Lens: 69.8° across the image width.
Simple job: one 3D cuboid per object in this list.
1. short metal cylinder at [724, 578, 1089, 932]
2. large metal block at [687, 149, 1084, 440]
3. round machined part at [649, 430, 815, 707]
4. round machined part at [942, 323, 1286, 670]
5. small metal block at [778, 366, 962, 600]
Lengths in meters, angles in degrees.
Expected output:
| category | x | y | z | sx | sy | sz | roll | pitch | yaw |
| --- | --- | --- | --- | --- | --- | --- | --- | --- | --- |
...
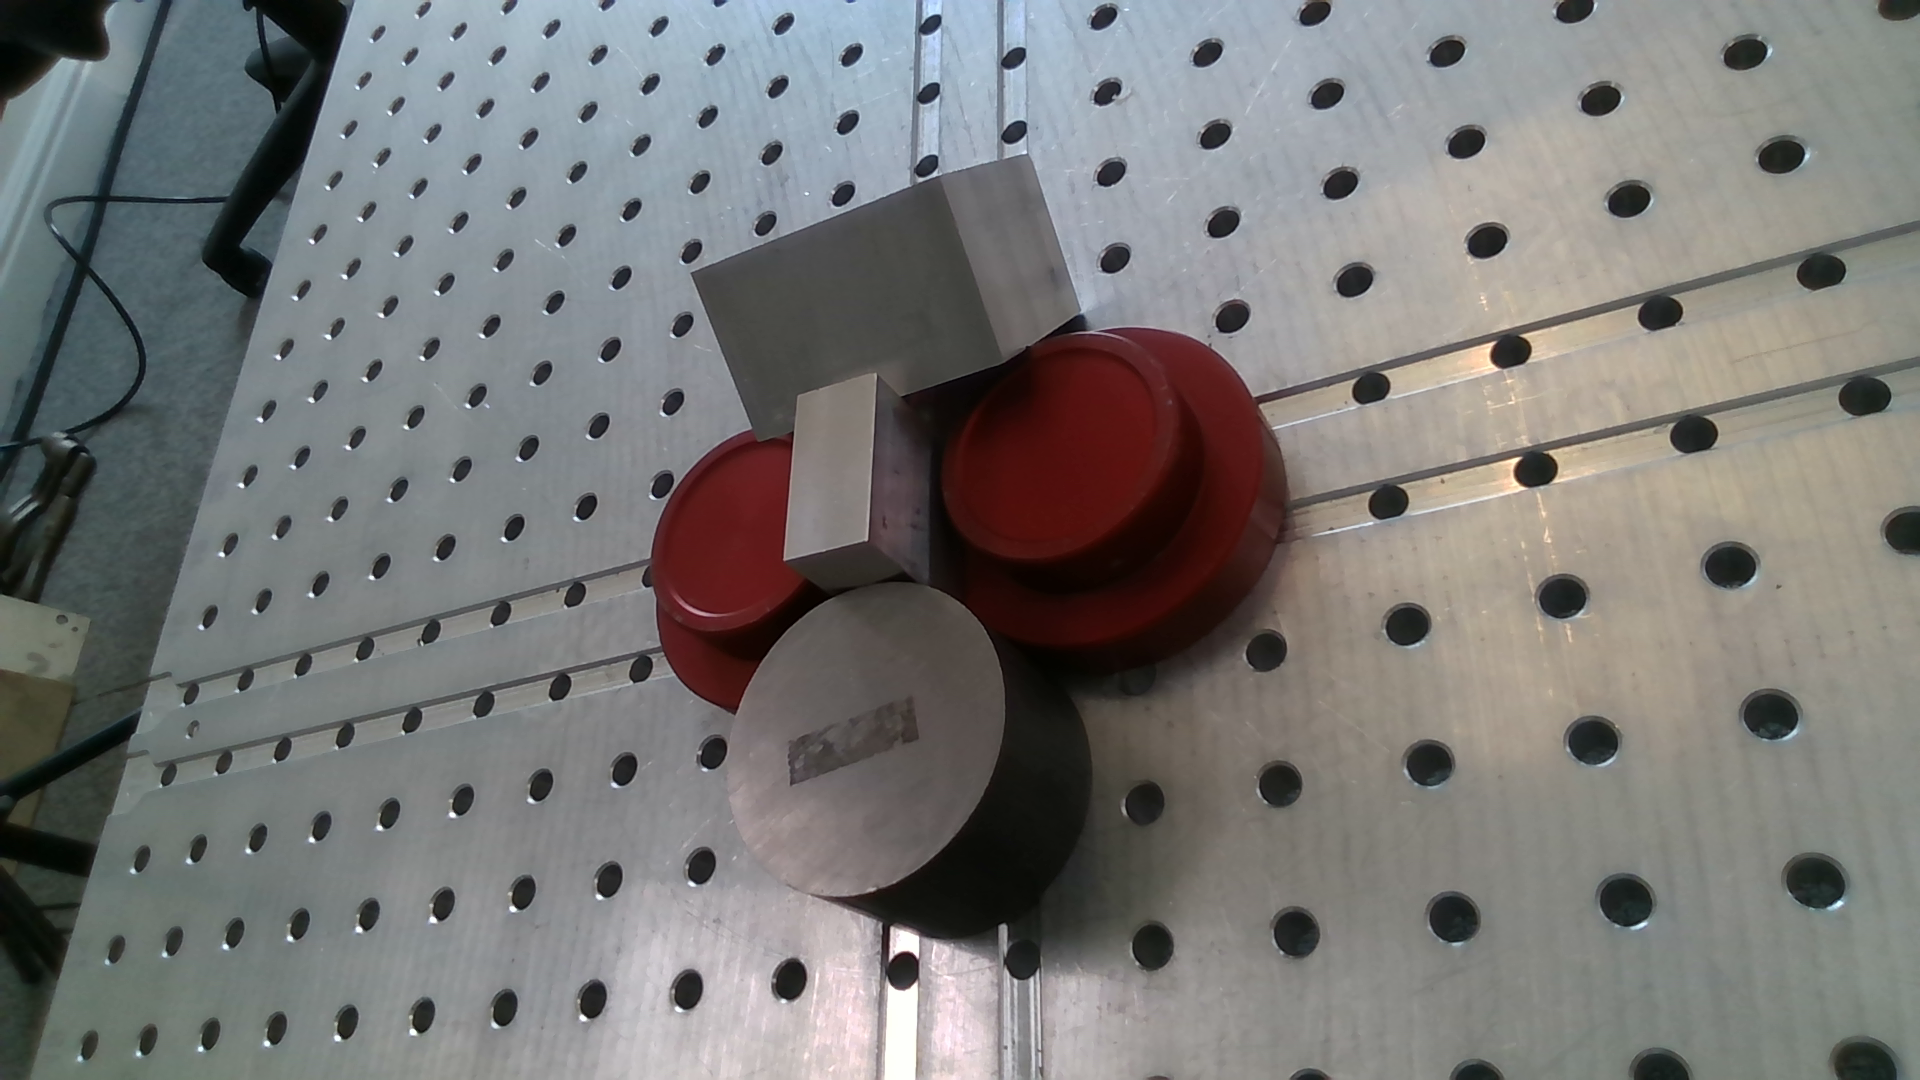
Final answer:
| category | x | y | z | sx | sy | sz | roll | pitch | yaw |
| --- | --- | --- | --- | --- | --- | --- | --- | --- | --- |
| short metal cylinder | -0.013 | 0.056 | 0.357 | 0.080 | 0.050 | 0.080 | -14 | 59 | 25 |
| large metal block | -0.018 | -0.073 | 0.403 | 0.080 | 0.080 | 0.050 | -15 | 103 | 25 |
| round machined part | -0.054 | 0.004 | 0.417 | 0.098 | 0.042 | 0.098 | -14 | 59 | 25 |
| round machined part | 0.034 | -0.017 | 0.373 | 0.098 | 0.042 | 0.098 | -14 | 59 | 25 |
| small metal block | -0.022 | -0.010 | 0.370 | 0.025 | 0.050 | 0.050 | -13 | 59 | 26 |
